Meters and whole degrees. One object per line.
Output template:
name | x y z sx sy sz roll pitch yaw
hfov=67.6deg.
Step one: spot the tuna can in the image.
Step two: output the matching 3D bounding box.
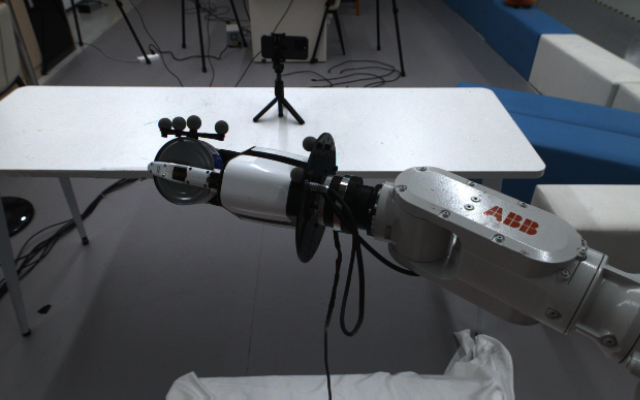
tuna can | -0.167 -0.036 0.617 0.085 0.085 0.034 12 1 14
